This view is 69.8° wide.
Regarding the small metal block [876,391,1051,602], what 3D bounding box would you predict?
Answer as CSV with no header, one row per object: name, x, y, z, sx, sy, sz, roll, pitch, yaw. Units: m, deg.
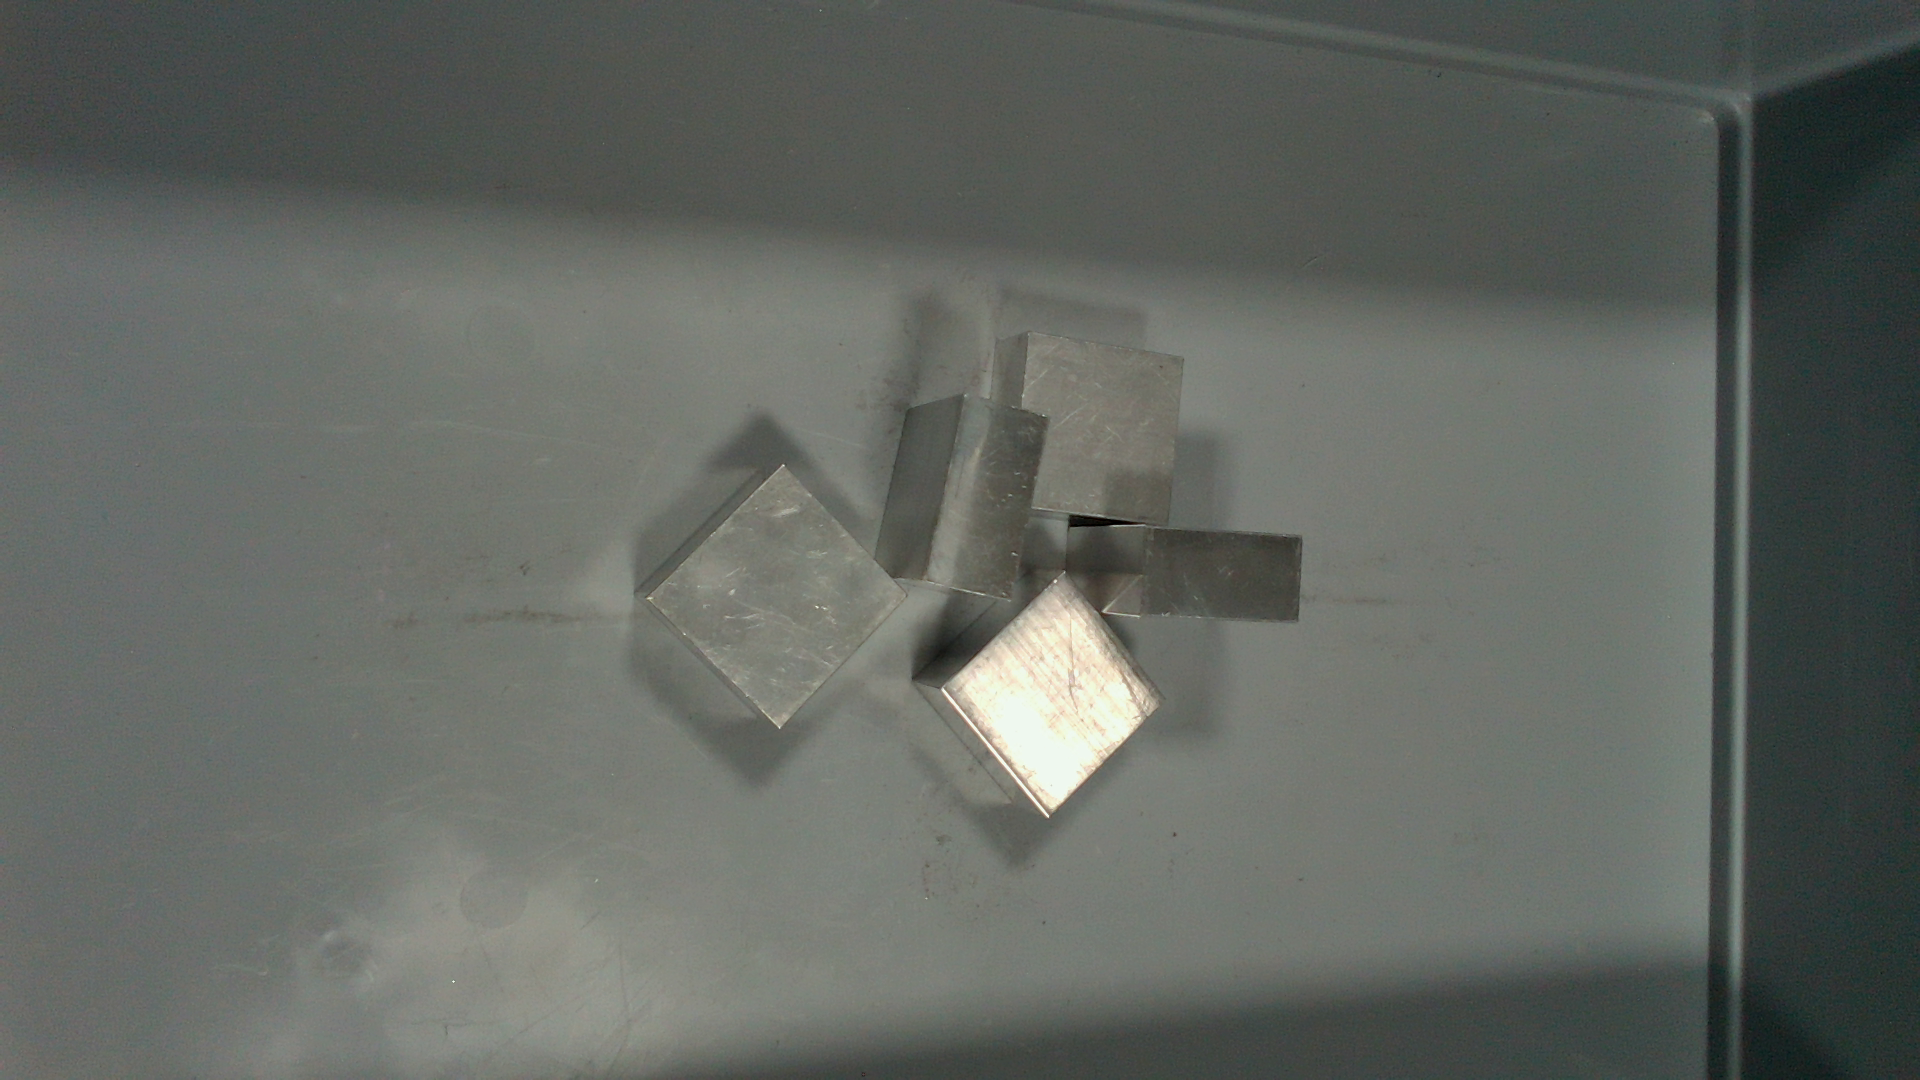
small metal block,-0.001,-0.011,0.378,0.025,0.050,0.050,13,86,-19

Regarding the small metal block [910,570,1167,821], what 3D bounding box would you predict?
small metal block,0.023,0.044,0.400,0.050,0.025,0.050,-42,103,-15

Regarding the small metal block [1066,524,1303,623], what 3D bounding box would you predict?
small metal block,0.064,0.010,0.402,0.050,0.050,0.025,3,89,-20

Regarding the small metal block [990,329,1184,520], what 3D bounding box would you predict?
small metal block,0.035,-0.032,0.405,0.050,0.025,0.050,7,88,-20

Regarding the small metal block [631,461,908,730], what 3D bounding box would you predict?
small metal block,-0.052,0.015,0.373,0.050,0.025,0.050,-47,104,-14
